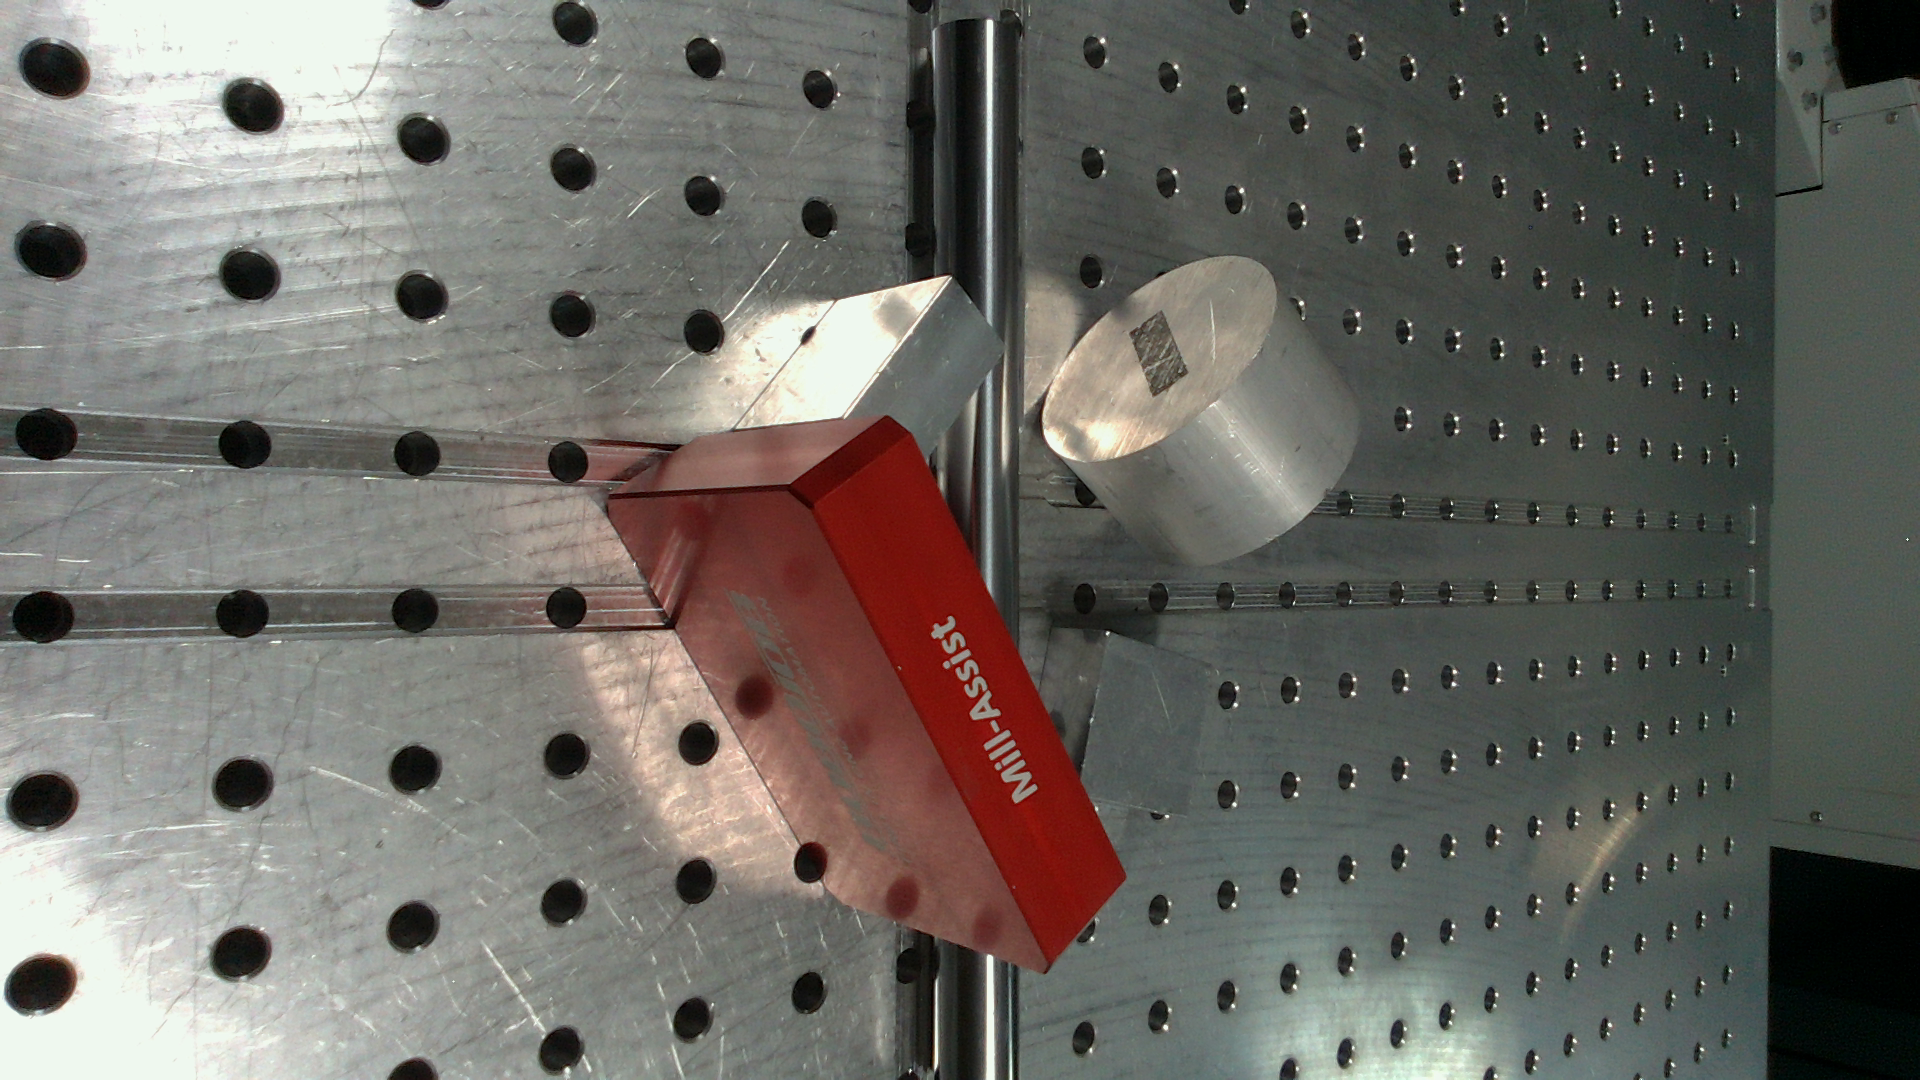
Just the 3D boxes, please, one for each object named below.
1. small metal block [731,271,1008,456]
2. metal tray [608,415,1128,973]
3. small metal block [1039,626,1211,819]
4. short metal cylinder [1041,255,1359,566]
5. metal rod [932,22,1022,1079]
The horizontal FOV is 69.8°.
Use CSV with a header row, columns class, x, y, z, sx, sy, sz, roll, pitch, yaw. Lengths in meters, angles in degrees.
class,x,y,z,sx,sy,sz,roll,pitch,yaw
small metal block,-0.024,-0.039,0.355,0.025,0.050,0.050,49,61,-29
metal tray,-0.023,0.036,0.330,0.030,0.090,0.130,-40,114,-33
small metal block,0.049,0.058,0.434,0.050,0.025,0.050,19,78,-38
short metal cylinder,0.072,-0.039,0.416,0.050,0.080,0.080,45,63,-30
metal rod,0.005,0.006,0.395,0.025,0.025,0.300,0,90,-40
